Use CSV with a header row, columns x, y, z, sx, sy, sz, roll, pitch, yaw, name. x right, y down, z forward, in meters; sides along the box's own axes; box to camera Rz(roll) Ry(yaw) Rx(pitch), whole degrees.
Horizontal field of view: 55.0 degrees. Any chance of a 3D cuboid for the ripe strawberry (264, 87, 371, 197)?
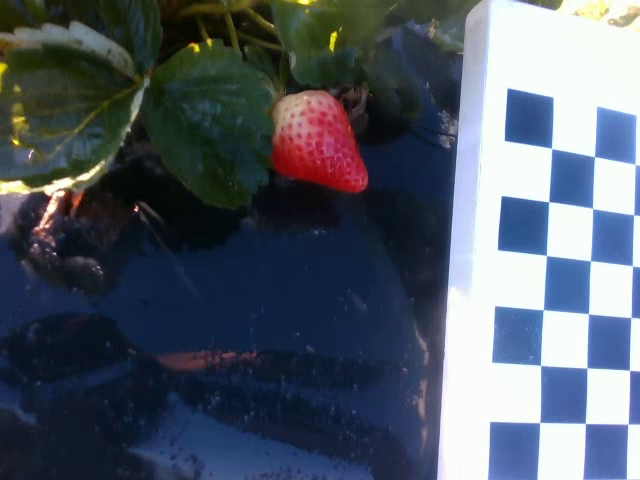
x,y,z,sx,sy,sz,roll,pitch,yaw,name
0.001,-0.042,0.292,0.040,0.065,0.040,-45,8,-18,ripe strawberry
